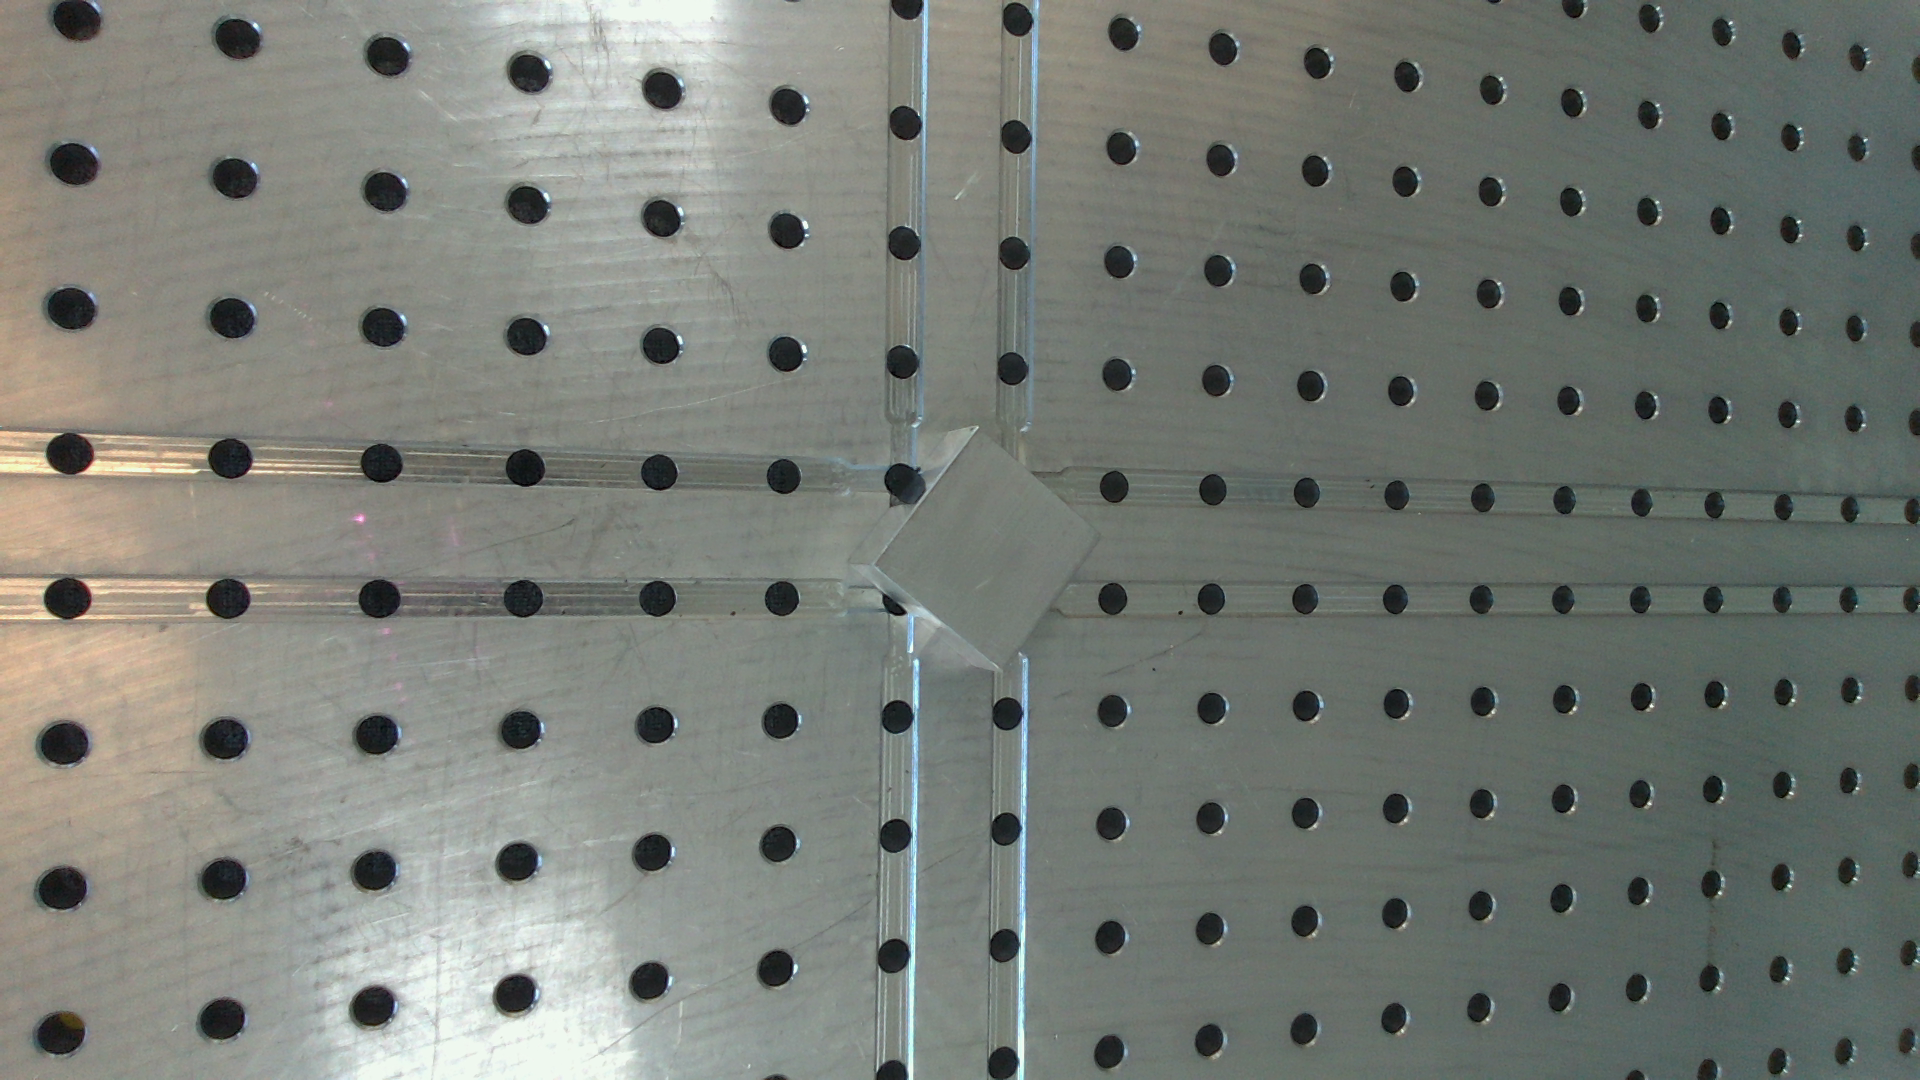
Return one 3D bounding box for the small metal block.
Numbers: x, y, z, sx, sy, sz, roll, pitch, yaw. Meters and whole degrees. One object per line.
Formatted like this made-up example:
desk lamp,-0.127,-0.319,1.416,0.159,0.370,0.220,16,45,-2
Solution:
small metal block,0.004,0.003,0.397,0.050,0.025,0.050,40,78,-16
